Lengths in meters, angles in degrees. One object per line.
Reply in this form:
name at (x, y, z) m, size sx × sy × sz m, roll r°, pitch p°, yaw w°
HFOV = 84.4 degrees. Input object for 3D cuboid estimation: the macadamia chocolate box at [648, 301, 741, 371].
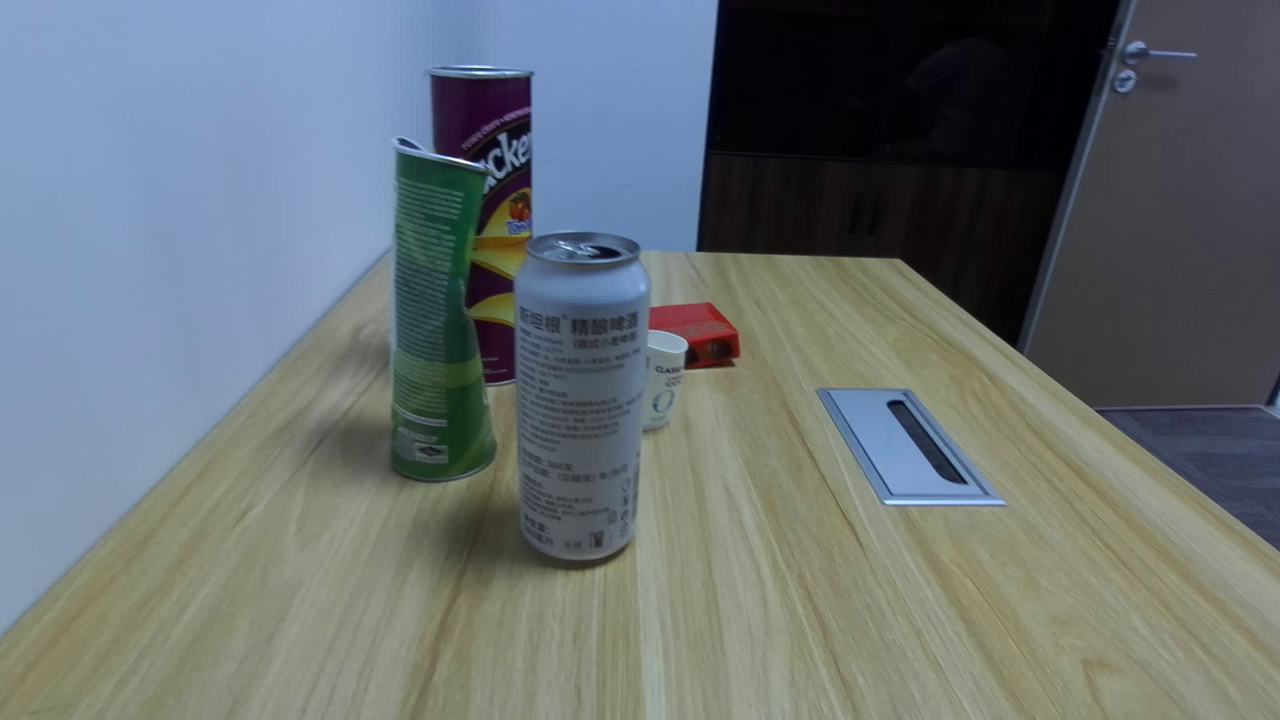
macadamia chocolate box at (0.021, -0.022, 0.638) m, size 0.127 × 0.056 × 0.112 m, roll 2°, pitch 39°, yaw -10°

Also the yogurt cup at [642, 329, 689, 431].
yogurt cup at (0.000, 0.007, 0.514) m, size 0.075 × 0.071 × 0.054 m, roll 16°, pitch 29°, yaw 19°

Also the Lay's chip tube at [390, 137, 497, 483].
Lay's chip tube at (-0.124, -0.028, 0.433) m, size 0.077 × 0.201 × 0.069 m, roll 12°, pitch 26°, yaw 12°

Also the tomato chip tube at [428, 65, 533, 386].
tomato chip tube at (-0.117, -0.096, 0.548) m, size 0.080 × 0.234 × 0.076 m, roll -14°, pitch 25°, yaw -34°

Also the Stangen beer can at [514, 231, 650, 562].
Stangen beer can at (-0.030, 0.022, 0.369) m, size 0.067 × 0.171 × 0.067 m, roll 3°, pitch 25°, yaw -1°
